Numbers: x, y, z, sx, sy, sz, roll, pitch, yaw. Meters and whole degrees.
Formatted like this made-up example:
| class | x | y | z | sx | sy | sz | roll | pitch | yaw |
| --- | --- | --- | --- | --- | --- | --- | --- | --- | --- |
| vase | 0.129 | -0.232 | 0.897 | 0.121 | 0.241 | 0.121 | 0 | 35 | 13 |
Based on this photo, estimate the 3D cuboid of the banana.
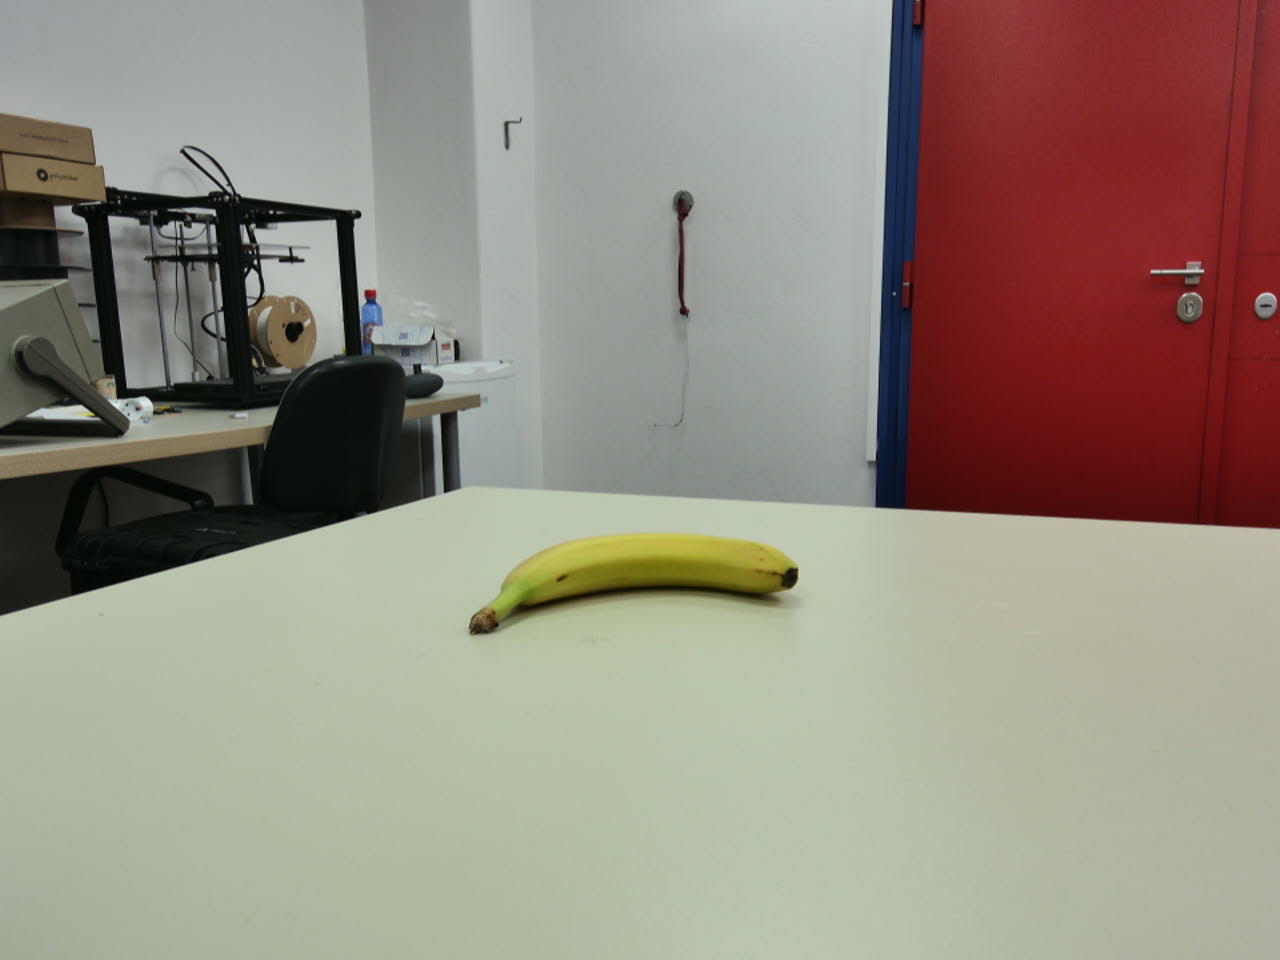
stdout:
| class | x | y | z | sx | sy | sz | roll | pitch | yaw |
| --- | --- | --- | --- | --- | --- | --- | --- | --- | --- |
| banana | -0.009 | 0.057 | 0.616 | 0.196 | 0.041 | 0.094 | -1 | 7 | -12 |
